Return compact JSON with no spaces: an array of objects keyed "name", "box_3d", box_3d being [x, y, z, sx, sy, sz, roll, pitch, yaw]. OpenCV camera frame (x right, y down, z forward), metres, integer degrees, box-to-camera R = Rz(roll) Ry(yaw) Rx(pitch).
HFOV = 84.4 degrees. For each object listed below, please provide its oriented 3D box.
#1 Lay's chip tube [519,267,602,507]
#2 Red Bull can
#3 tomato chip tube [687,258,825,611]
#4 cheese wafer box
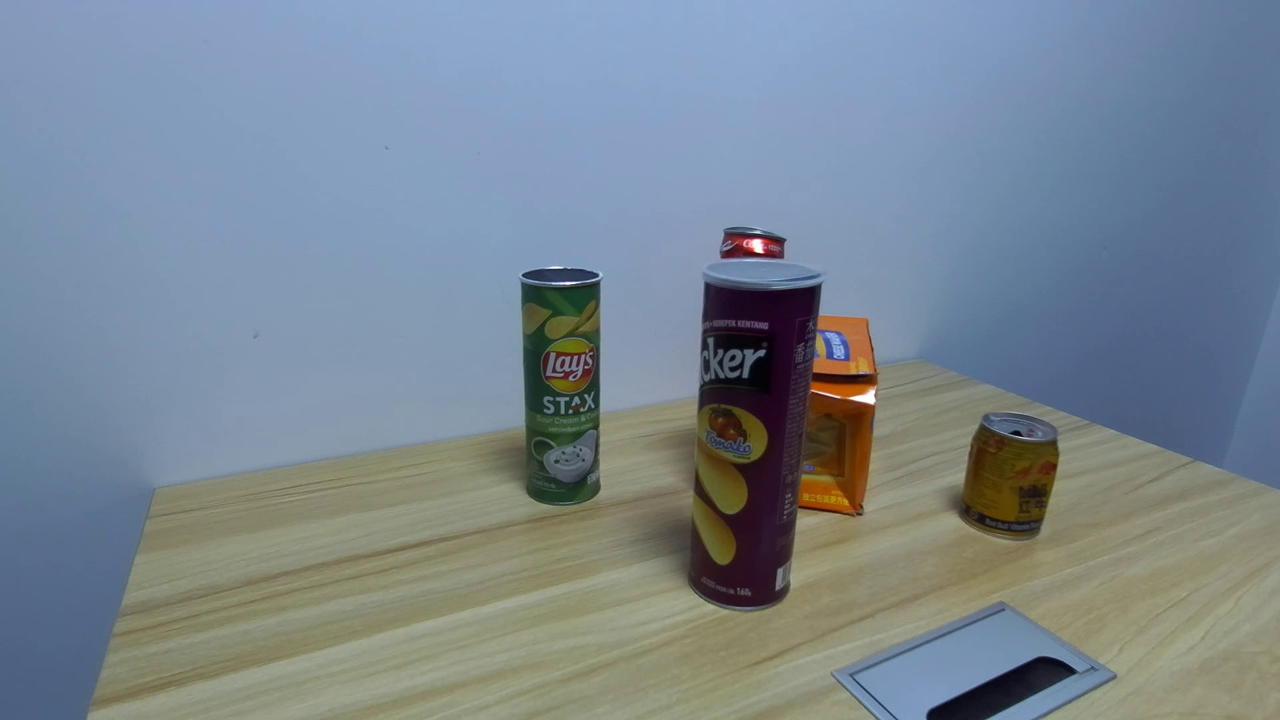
[{"name":"Lay's chip tube","box_3d":[-0.068,0.022,0.627,0.071,0.202,0.071,1,19,0]},{"name":"Red Bull can","box_3d":[0.317,0.099,0.608,0.069,0.092,0.069,2,17,0]},{"name":"tomato chip tube","box_3d":[0.077,0.053,0.488,0.078,0.234,0.078,1,19,0]},{"name":"cheese wafer box","box_3d":[0.156,0.038,0.710,0.149,0.137,0.227,6,18,14]}]
